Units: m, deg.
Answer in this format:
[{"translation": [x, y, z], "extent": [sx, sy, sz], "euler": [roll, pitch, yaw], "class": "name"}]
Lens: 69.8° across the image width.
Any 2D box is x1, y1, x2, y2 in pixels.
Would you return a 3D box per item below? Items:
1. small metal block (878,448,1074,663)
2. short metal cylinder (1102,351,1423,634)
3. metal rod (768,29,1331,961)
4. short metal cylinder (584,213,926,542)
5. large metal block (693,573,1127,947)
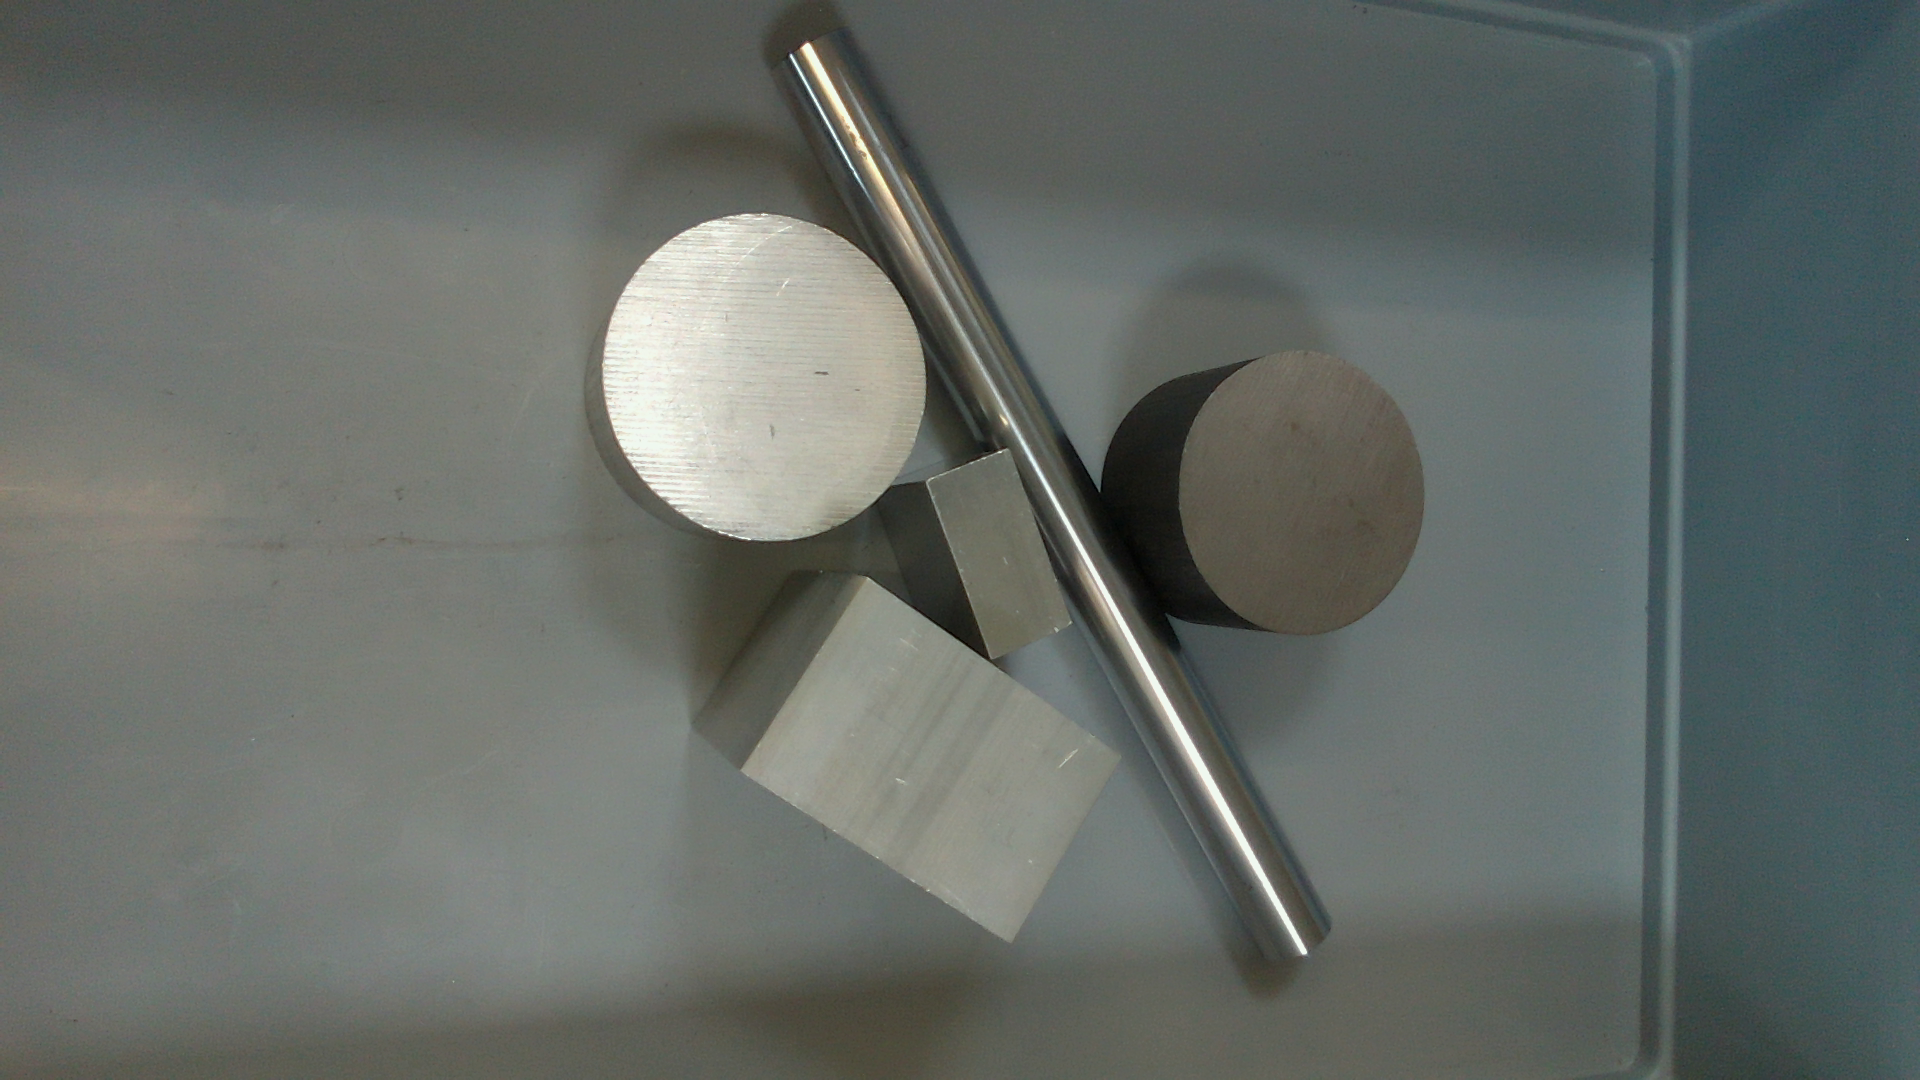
[{"translation": [0.002, 0.004, 0.379], "extent": [0.025, 0.050, 0.050], "euler": [-22, 98, -18], "class": "small metal block"}, {"translation": [0.089, -0.013, 0.411], "extent": [0.080, 0.050, 0.080], "euler": [0, 90, -20], "class": "short metal cylinder"}, {"translation": [0.031, -0.005, 0.403], "extent": [0.025, 0.025, 0.300], "euler": [-33, 101, -17], "class": "metal rod"}, {"translation": [-0.055, -0.040, 0.359], "extent": [0.080, 0.050, 0.080], "euler": [0, 90, -20], "class": "short metal cylinder"}, {"translation": [-0.017, 0.053, 0.356], "extent": [0.080, 0.080, 0.050], "euler": [36, 79, -16], "class": "large metal block"}]
